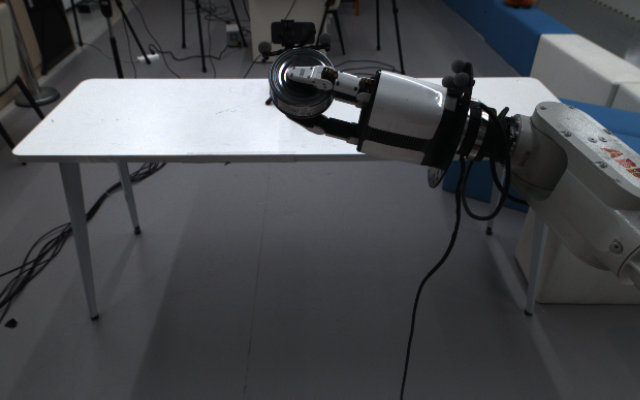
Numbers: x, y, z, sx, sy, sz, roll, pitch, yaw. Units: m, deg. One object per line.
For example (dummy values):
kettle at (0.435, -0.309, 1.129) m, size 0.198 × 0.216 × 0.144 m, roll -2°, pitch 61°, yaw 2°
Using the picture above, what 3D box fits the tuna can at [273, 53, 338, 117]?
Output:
tuna can at (-0.018, -0.144, 0.610) m, size 0.085 × 0.034 × 0.085 m, roll 0°, pitch 72°, yaw -1°
